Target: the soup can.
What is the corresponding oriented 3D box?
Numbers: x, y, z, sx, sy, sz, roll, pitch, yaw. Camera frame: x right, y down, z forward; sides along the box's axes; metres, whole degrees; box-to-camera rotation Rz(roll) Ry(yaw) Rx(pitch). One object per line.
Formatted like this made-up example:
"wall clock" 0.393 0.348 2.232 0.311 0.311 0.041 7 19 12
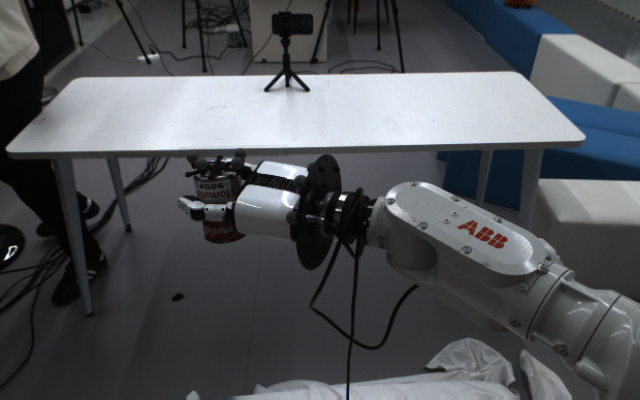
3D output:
"soup can" -0.143 0.004 0.708 0.067 0.101 0.067 -4 25 2
